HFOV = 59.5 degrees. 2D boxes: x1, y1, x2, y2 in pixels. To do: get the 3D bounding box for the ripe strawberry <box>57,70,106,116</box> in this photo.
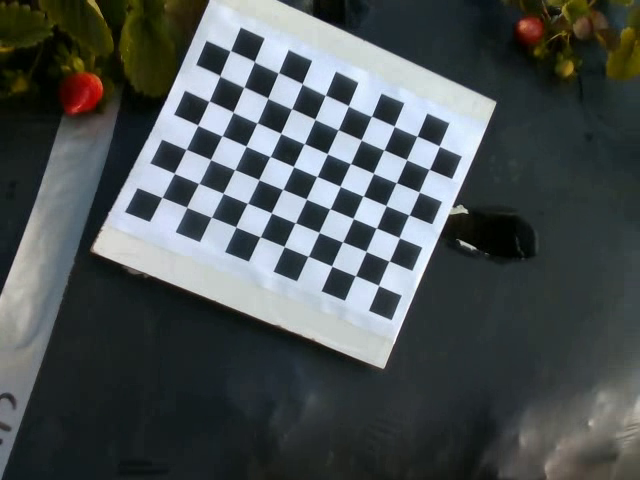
[{"bbox_3d":[-0.204,-0.122,0.472,0.050,0.055,0.035,18,-24,-10],"label":"ripe strawberry"}]
